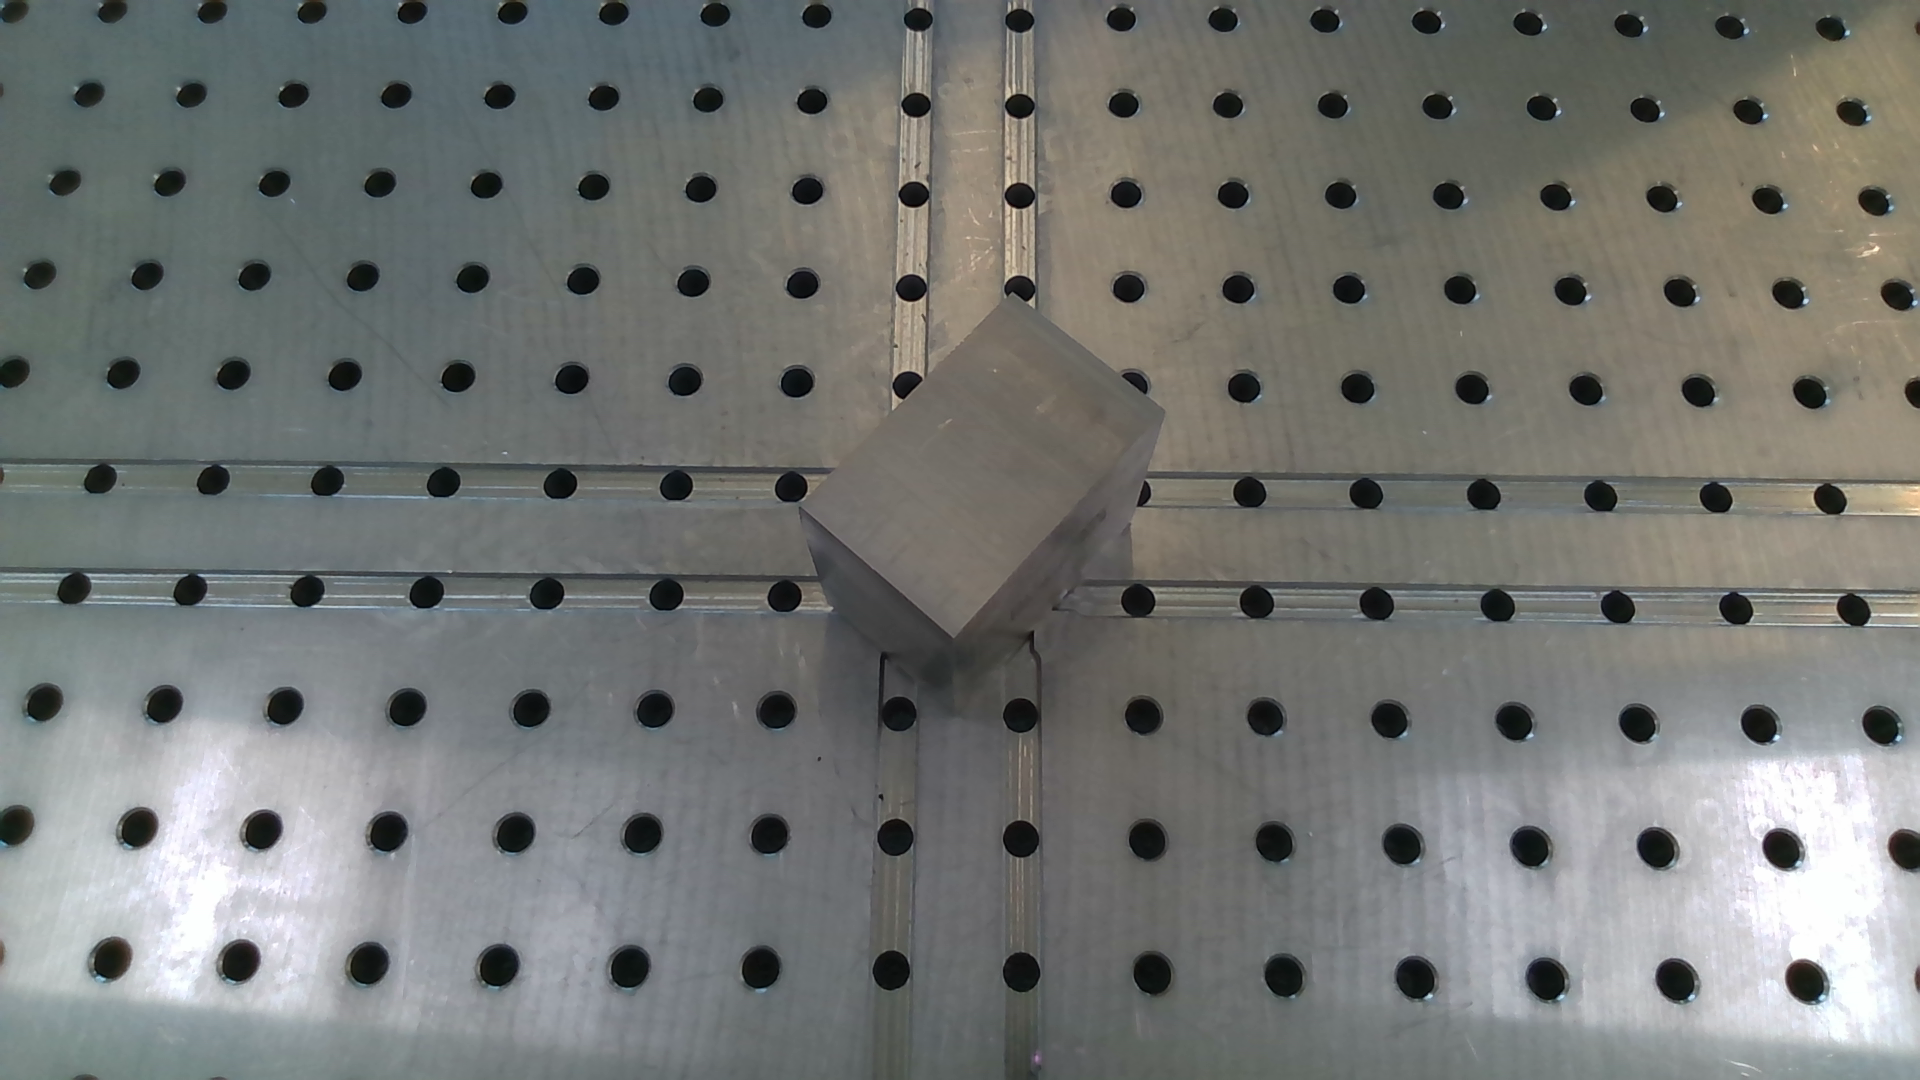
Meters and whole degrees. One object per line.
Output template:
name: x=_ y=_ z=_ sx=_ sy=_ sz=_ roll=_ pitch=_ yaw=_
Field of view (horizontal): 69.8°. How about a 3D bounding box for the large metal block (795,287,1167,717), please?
large metal block: x=0.006 y=-0.007 z=0.371 sx=0.050 sy=0.080 sz=0.080 roll=40 pitch=75 yaw=13
